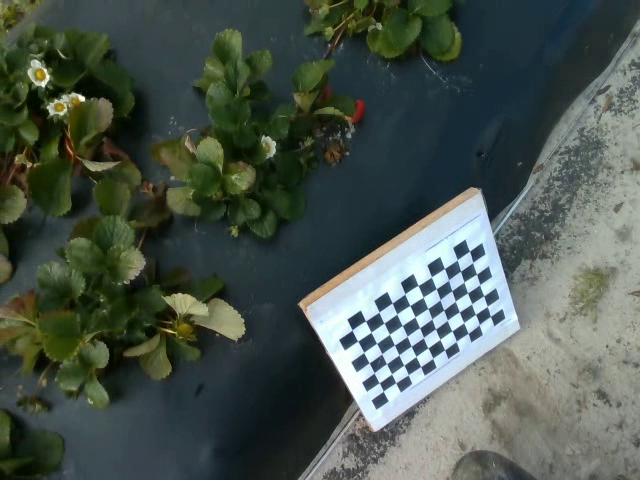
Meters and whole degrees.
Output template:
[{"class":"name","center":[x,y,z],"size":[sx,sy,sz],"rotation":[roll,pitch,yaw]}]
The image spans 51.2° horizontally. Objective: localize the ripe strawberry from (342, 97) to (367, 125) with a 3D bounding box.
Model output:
[{"class":"ripe strawberry","center":[0.028,-0.115,0.573],"size":[0.022,0.027,0.021],"rotation":[29,18,-45]}]
